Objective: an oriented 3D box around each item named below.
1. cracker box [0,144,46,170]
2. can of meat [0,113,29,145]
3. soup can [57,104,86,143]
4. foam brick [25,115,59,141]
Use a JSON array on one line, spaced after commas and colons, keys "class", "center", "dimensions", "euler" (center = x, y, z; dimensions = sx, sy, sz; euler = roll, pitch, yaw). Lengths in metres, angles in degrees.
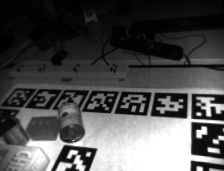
[{"class": "cracker box", "center": [-0.294, 0.229, 0.522], "dimensions": [0.212, 0.073, 0.164], "euler": [-6, 42, 18]}, {"class": "can of meat", "center": [-0.307, 0.136, 0.638], "dimensions": [0.100, 0.084, 0.058], "euler": [12, 50, 28]}, {"class": "soup can", "center": [-0.121, 0.108, 0.635], "dimensions": [0.068, 0.068, 0.101], "euler": [-25, 37, -9]}, {"class": "foam brick", "center": [-0.205, 0.127, 0.643], "dimensions": [0.077, 0.052, 0.052], "euler": [-7, 43, 11]}]
